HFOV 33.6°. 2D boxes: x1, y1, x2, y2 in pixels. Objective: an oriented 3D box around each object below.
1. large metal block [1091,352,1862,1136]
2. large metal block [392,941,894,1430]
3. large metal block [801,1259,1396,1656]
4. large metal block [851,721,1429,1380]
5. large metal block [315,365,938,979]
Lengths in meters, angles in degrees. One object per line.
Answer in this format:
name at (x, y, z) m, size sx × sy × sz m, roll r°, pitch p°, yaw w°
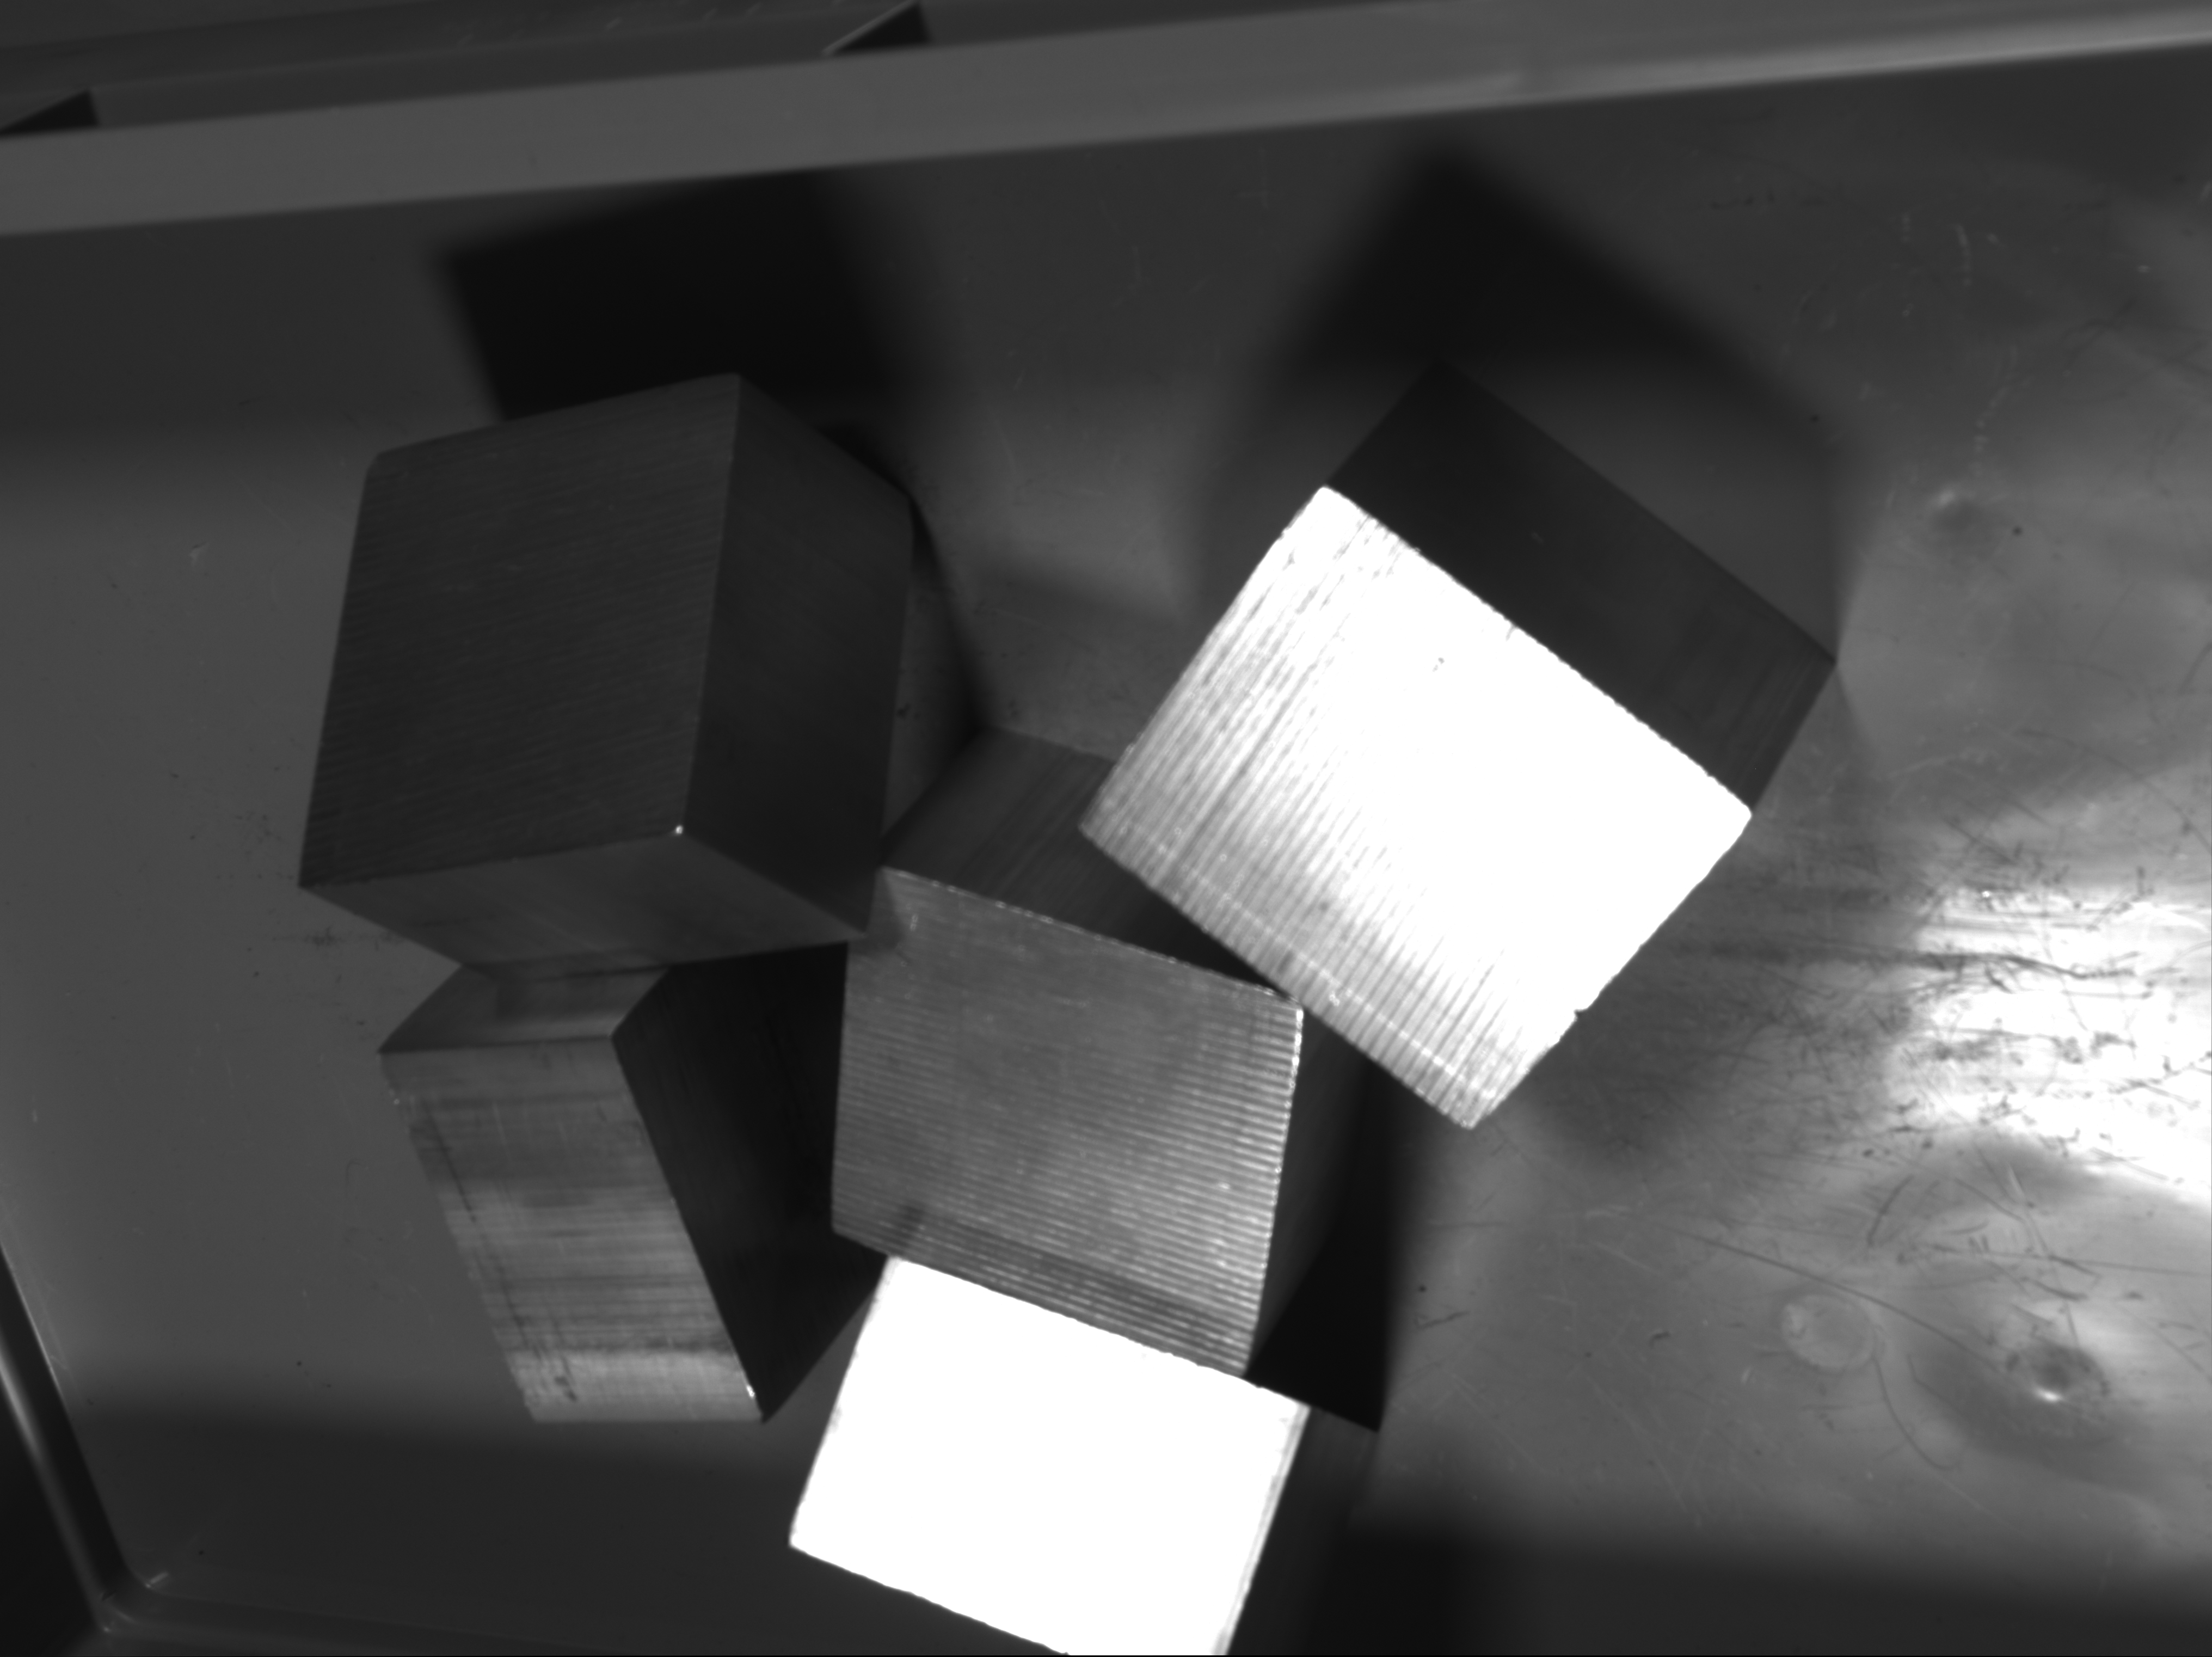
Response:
large metal block at (0.058, -0.013, 0.577) m, size 0.080 × 0.050 × 0.080 m, roll 37°, pitch 128°, yaw 2°
large metal block at (-0.073, 0.052, 0.663) m, size 0.050 × 0.080 × 0.080 m, roll -6°, pitch 116°, yaw 29°
large metal block at (0.001, 0.117, 0.657) m, size 0.080 × 0.080 × 0.050 m, roll 17°, pitch 82°, yaw 15°
large metal block at (0.005, 0.038, 0.635) m, size 0.080 × 0.050 × 0.080 m, roll 17°, pitch 125°, yaw 17°
large metal block at (-0.079, -0.024, 0.613) m, size 0.080 × 0.080 × 0.050 m, roll -7°, pitch 156°, yaw 31°
